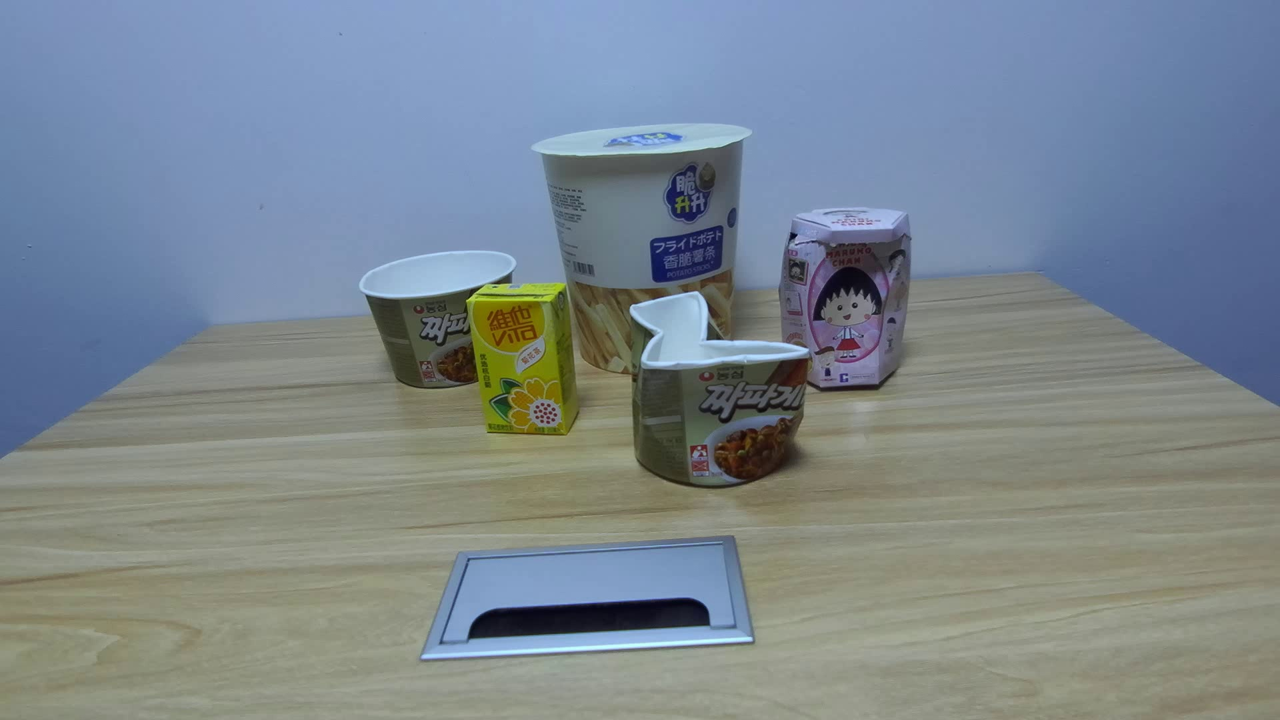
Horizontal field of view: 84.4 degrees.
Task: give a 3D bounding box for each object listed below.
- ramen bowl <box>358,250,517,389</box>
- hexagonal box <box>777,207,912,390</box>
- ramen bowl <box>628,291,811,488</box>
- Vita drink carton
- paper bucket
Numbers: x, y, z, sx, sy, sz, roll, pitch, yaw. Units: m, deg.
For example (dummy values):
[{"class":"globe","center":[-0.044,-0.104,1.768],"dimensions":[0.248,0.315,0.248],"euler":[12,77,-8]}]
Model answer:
[{"class":"ramen bowl","center":[-0.180,-0.039,0.661],"dimensions":[0.140,0.095,0.140],"euler":[-3,25,2]},{"class":"hexagonal box","center":[0.166,-0.052,0.579],"dimensions":[0.090,0.134,0.090],"euler":[16,28,40]},{"class":"ramen bowl","center":[0.048,0.016,0.490],"dimensions":[0.111,0.093,0.128],"euler":[-6,24,-4]},{"class":"Vita drink carton","center":[-0.086,-0.001,0.536],"dimensions":[0.066,0.109,0.043],"euler":[2,24,12]},{"class":"paper bucket","center":[0.007,-0.103,0.645],"dimensions":[0.198,0.195,0.198],"euler":[-3,24,2]}]
